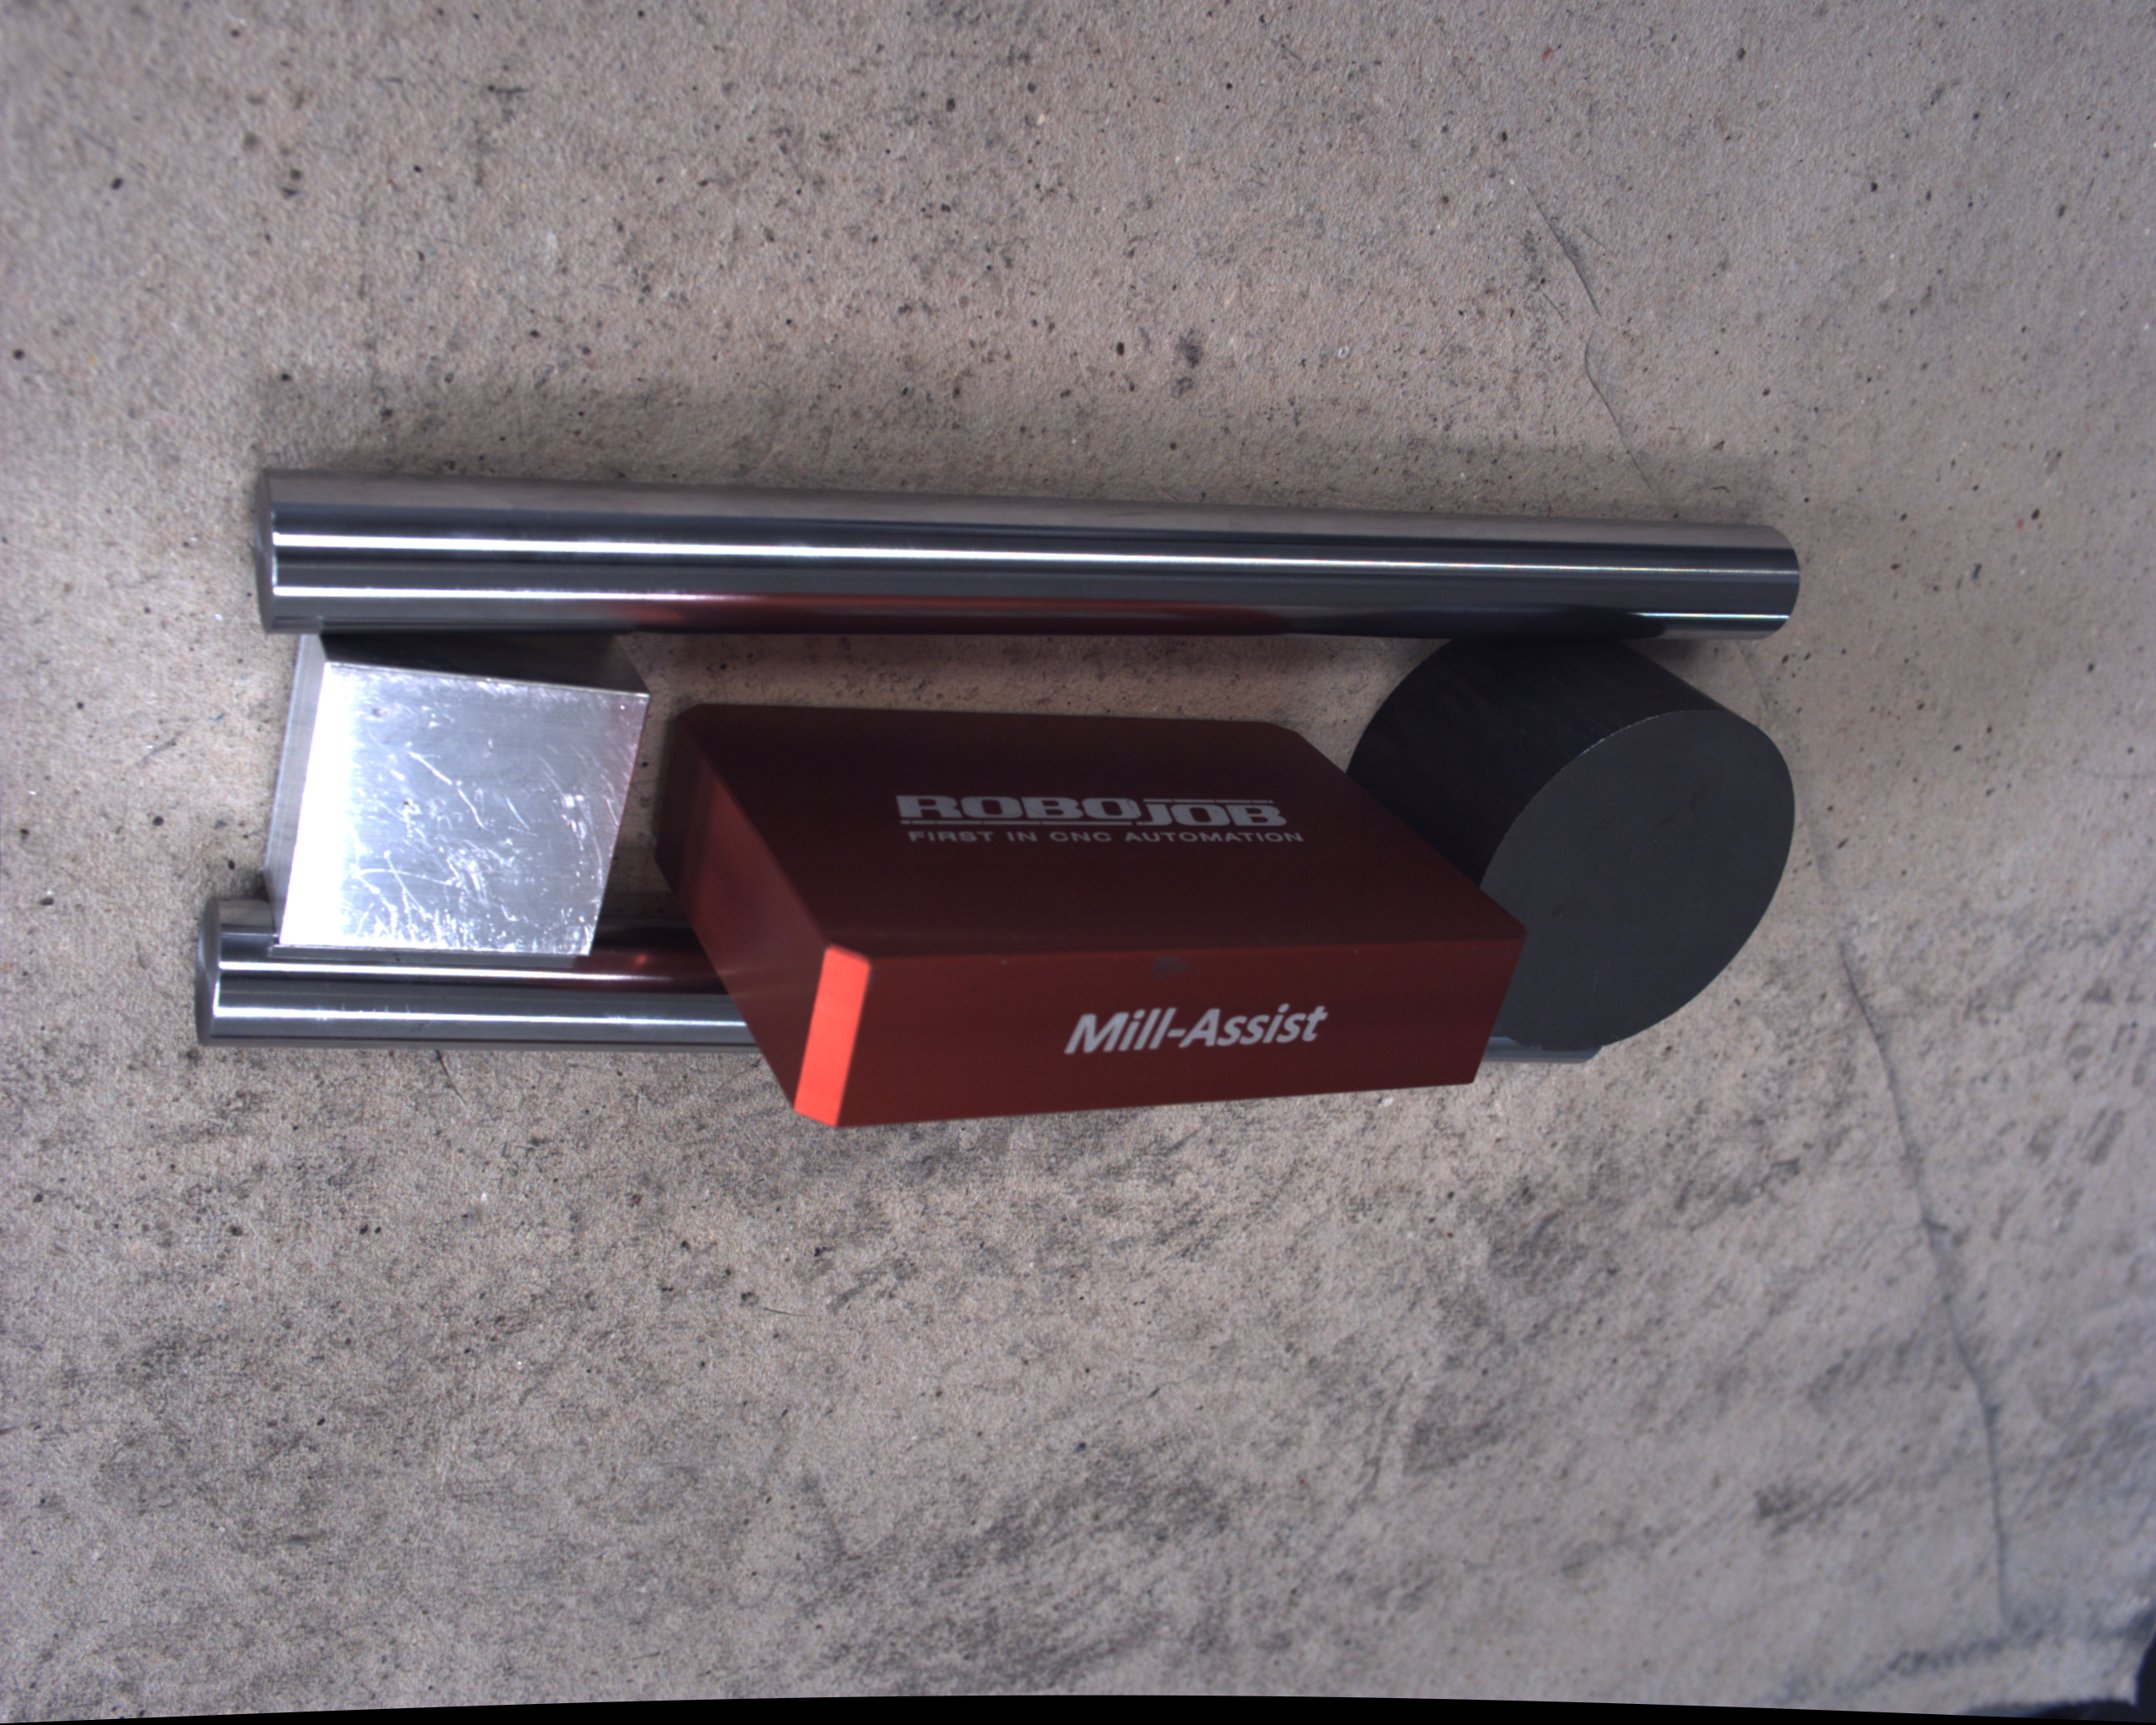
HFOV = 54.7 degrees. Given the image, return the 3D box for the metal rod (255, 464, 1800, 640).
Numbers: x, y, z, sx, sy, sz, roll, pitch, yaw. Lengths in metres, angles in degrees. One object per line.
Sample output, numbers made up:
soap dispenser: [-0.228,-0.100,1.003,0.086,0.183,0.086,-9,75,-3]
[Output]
metal rod: [0.012,-0.054,0.382,0.303,0.025,0.025,-3,120,-27]

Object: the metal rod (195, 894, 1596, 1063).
metal rod: [-0.012,0.026,0.418,0.302,0.025,0.025,4,117,-30]

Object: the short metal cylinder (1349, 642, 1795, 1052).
short metal cylinder: [0.103,-0.007,0.444,0.081,0.050,0.079,-14,124,-21]

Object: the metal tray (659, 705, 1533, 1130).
metal tray: [0.002,0.006,0.369,0.131,0.090,0.030,0,118,-28]

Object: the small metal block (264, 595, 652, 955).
small metal block: [-0.103,-0.013,0.344,0.050,0.025,0.050,4,116,-31]
